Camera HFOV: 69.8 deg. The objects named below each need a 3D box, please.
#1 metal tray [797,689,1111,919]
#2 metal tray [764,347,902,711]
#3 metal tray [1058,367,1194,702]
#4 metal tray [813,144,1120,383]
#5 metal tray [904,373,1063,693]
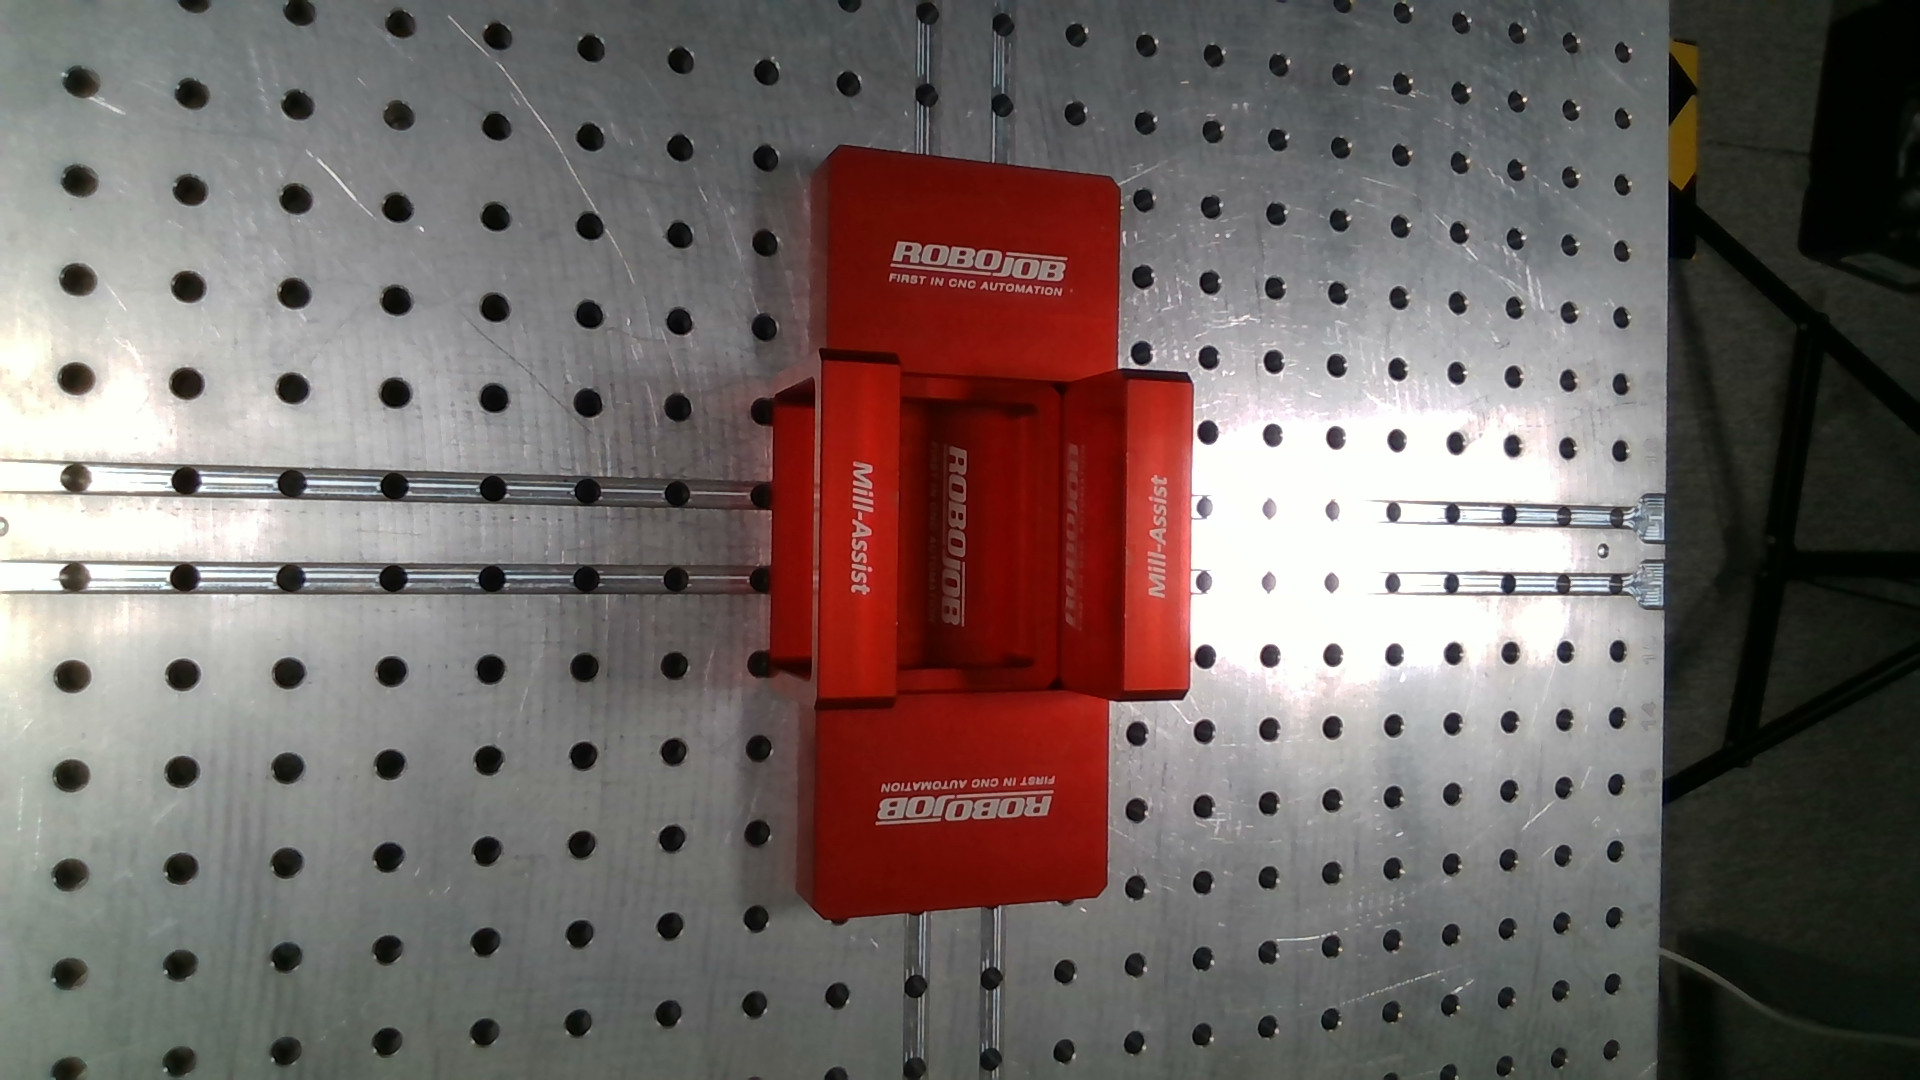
[{"bbox_3d":[-0.002,0.107,0.584,0.130,0.030,0.090,1,91,-20],"label":"metal tray"},{"bbox_3d":[-0.051,-0.004,0.533,0.030,0.090,0.130,1,90,-20],"label":"metal tray"},{"bbox_3d":[0.062,-0.002,0.577,0.030,0.090,0.130,1,90,-20],"label":"metal tray"},{"bbox_3d":[0.003,-0.113,0.586,0.130,0.030,0.090,1,90,-20],"label":"metal tray"},{"bbox_3d":[-0.004,-0.002,0.582,0.090,0.030,0.130,1,90,-20],"label":"metal tray"}]
